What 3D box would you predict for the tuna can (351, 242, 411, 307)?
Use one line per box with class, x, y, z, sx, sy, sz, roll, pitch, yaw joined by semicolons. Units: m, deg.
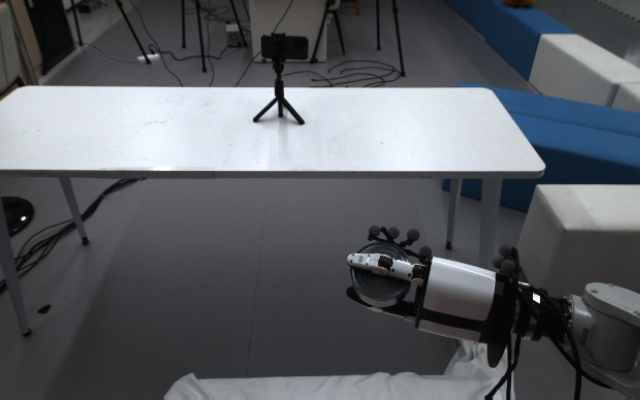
tuna can;0.087;0.100;0.670;0.085;0.034;0.085;-4;55;6
